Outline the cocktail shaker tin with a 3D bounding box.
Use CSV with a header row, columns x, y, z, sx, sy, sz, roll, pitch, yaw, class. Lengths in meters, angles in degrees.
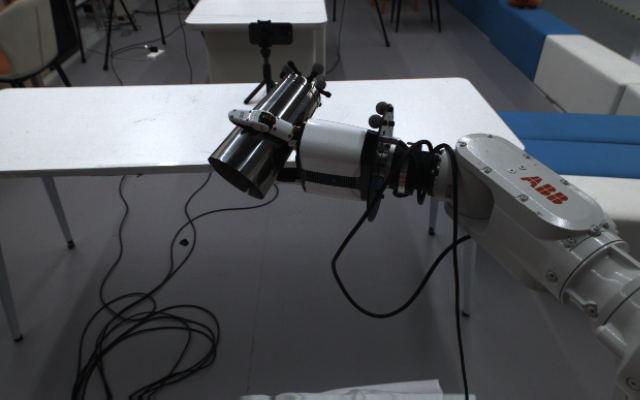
x,y,z,sx,sy,sz,roll,pitch,yaw,class
-0.071,-0.101,0.687,0.093,0.093,0.170,24,69,28,cocktail shaker tin
